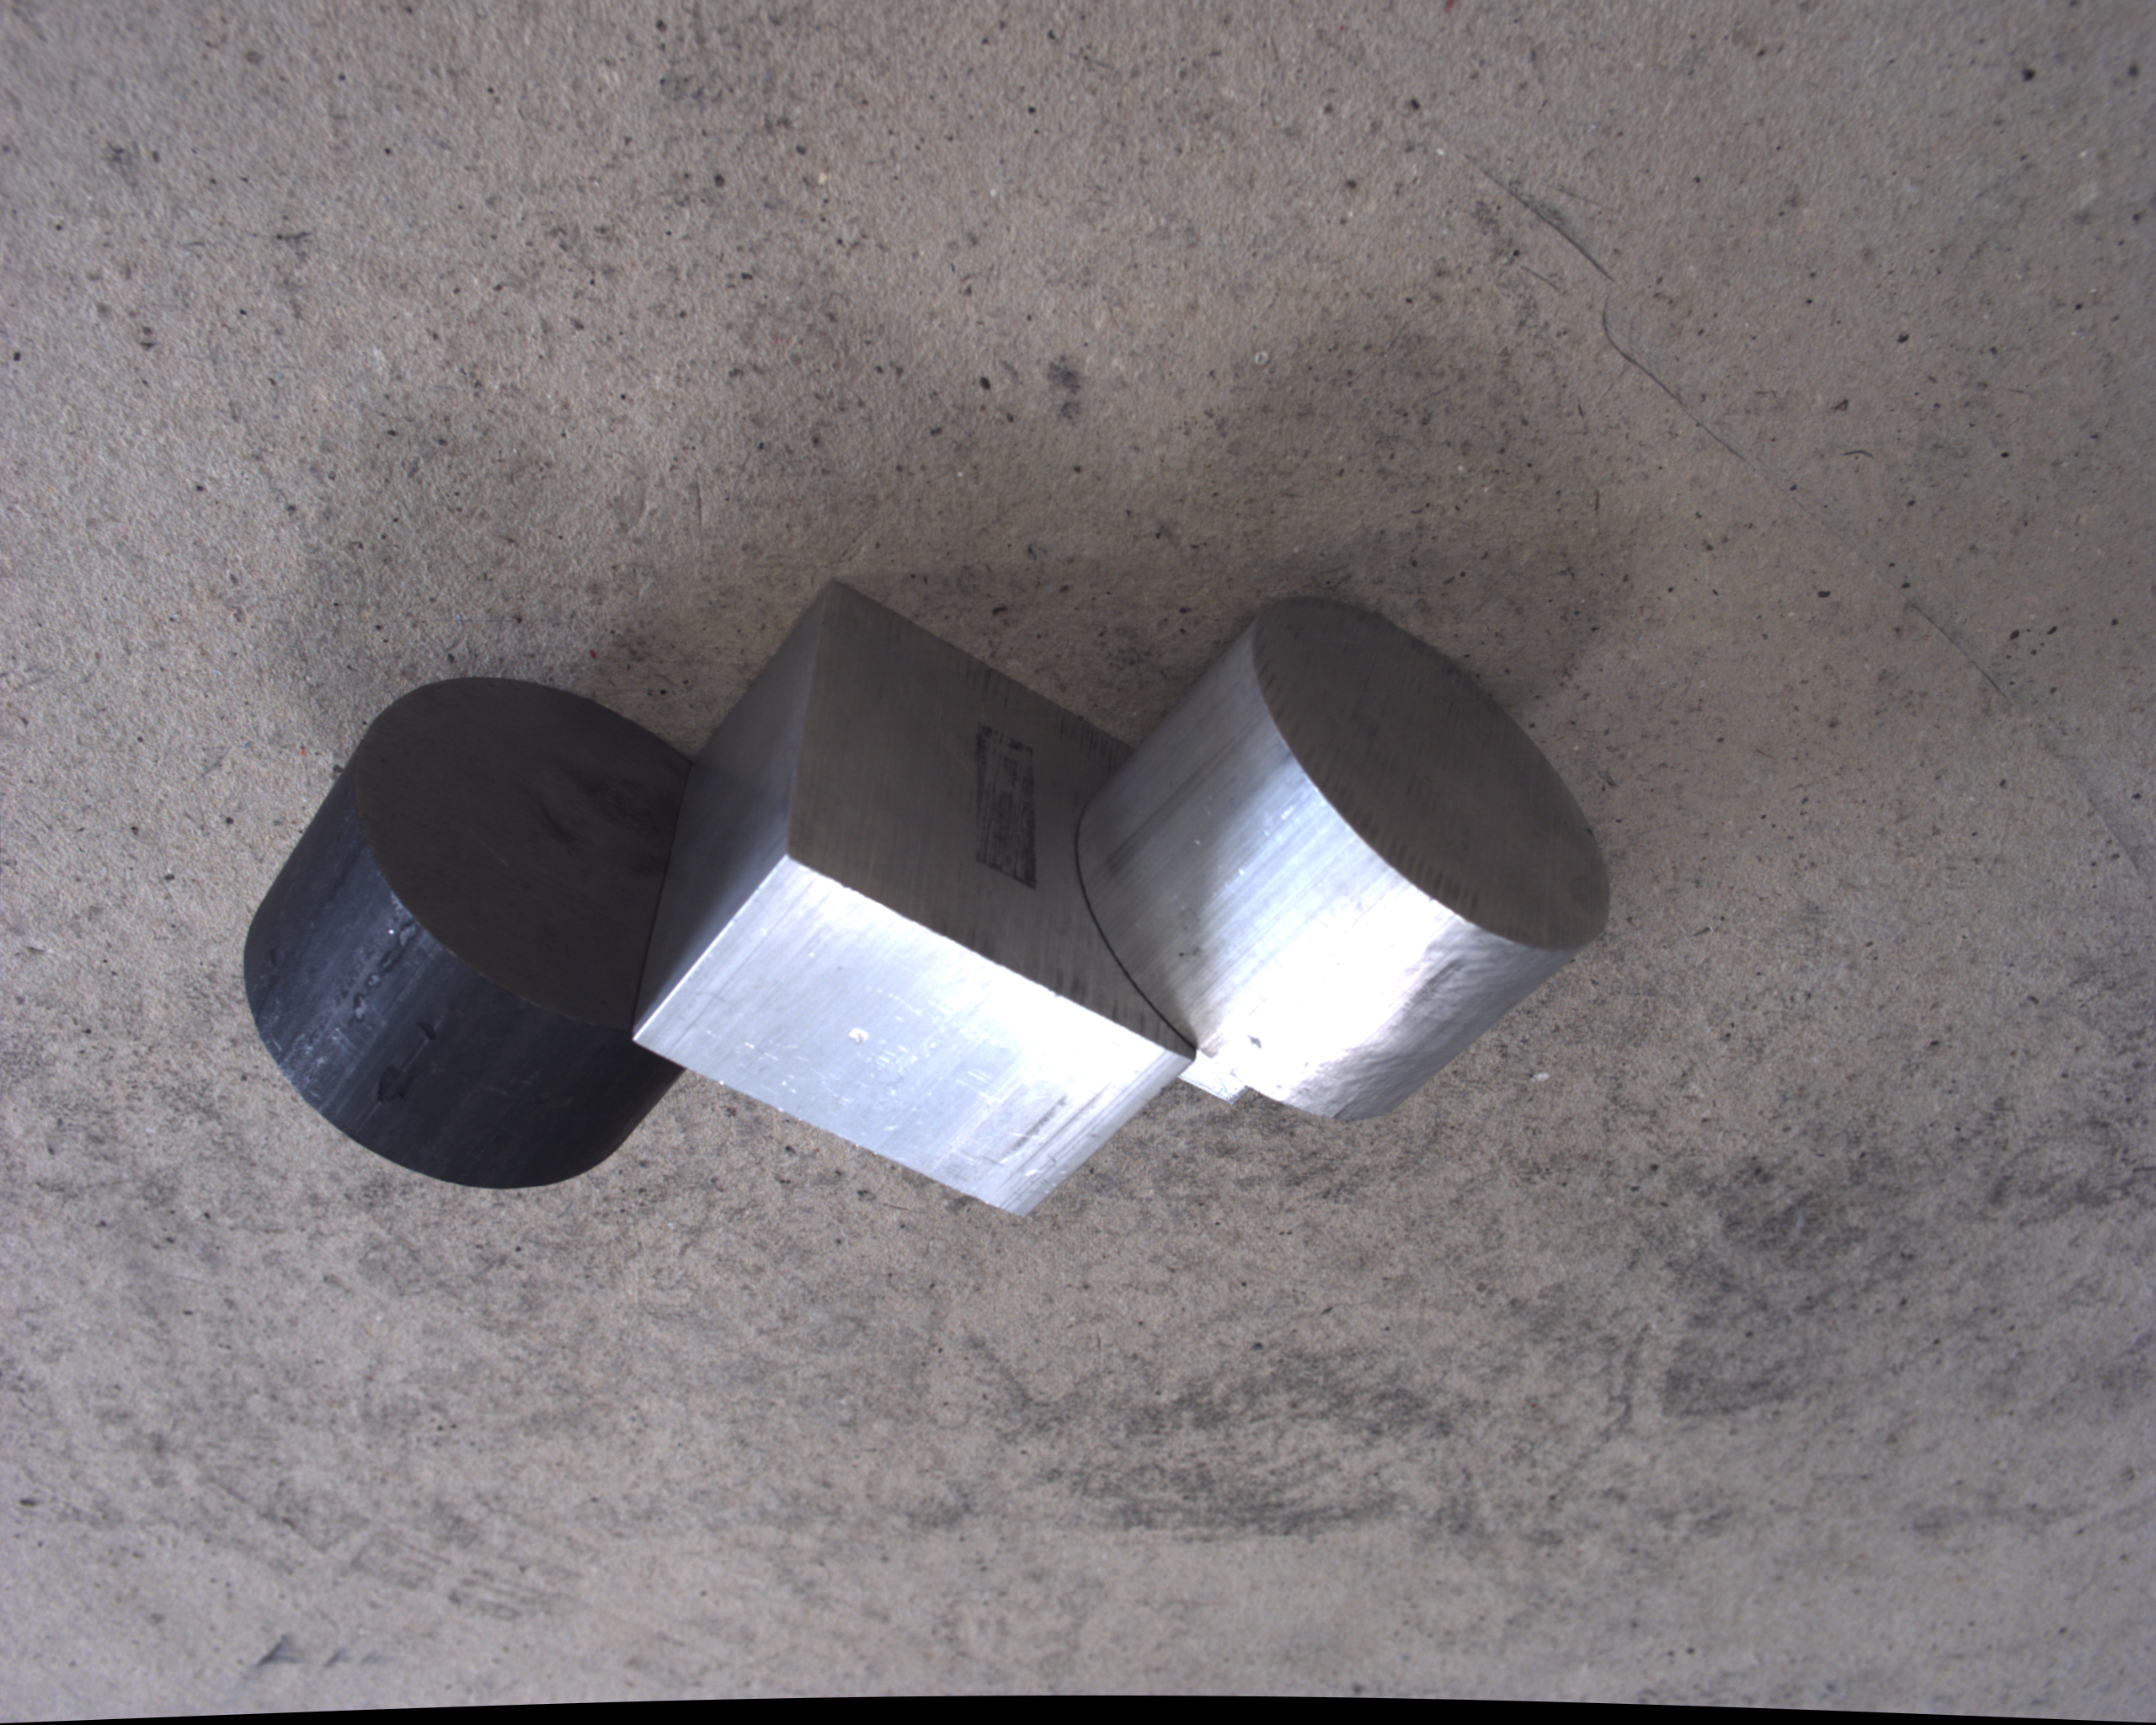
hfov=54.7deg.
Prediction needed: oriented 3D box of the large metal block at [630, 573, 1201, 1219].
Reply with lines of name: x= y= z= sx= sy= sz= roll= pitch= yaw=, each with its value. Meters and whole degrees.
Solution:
large metal block: x=-0.027 y=0.006 z=0.378 sx=0.080 sy=0.080 sz=0.050 roll=28 pitch=124 yaw=-22

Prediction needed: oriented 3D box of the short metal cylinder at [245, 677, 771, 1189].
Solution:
short metal cylinder: x=-0.103 y=0.012 z=0.382 sx=0.080 sy=0.080 sz=0.050 roll=28 pitch=125 yaw=-22

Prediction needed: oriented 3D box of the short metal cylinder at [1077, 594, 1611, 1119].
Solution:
short metal cylinder: x=0.047 y=-0.001 z=0.372 sx=0.080 sy=0.080 sz=0.050 roll=28 pitch=125 yaw=-22

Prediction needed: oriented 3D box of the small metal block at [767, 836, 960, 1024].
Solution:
small metal block: x=-0.052 y=0.021 z=0.427 sx=0.050 sy=0.025 sz=0.050 roll=28 pitch=125 yaw=-22

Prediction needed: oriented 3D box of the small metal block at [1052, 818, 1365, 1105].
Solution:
small metal block: x=0.027 y=0.016 z=0.423 sx=0.050 sy=0.025 sz=0.050 roll=28 pitch=125 yaw=-22
